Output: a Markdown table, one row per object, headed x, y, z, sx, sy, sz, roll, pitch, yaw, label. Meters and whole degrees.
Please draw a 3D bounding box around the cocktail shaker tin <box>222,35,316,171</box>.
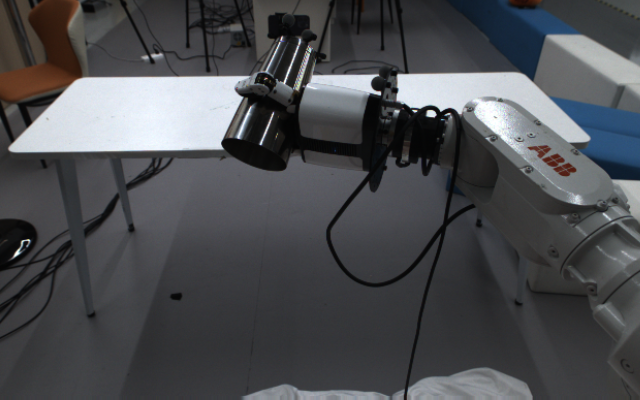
| x | y | z | sx | sy | sz | roll | pitch | yaw | label |
| --- | --- | --- | --- | --- | --- | --- | --- | --- | --- |
| -0.063 | -0.135 | 0.662 | 0.093 | 0.093 | 0.170 | 14 | 73 | 17 | cocktail shaker tin |
